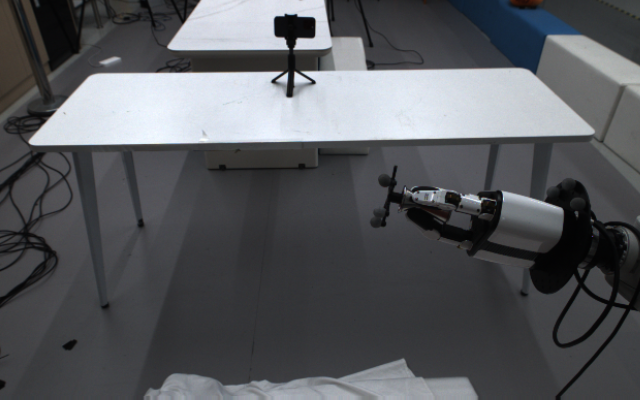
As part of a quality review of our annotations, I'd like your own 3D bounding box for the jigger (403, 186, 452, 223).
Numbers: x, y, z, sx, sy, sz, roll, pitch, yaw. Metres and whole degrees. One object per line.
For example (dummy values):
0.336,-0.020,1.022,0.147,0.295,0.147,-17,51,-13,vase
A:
0.153,0.002,0.676,0.071,0.043,0.043,13,36,3,jigger
